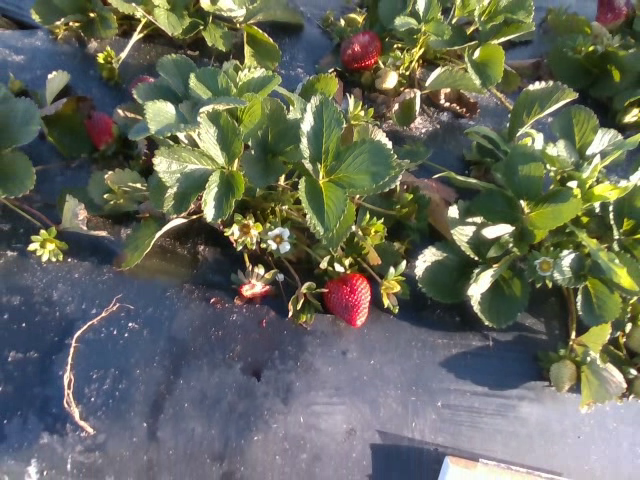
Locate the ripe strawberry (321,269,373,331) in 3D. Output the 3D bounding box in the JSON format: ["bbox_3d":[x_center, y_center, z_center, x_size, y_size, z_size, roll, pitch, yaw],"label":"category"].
[{"bbox_3d":[0.027,0.057,0.539,0.052,0.041,0.052,-16,40,3],"label":"ripe strawberry"}]
